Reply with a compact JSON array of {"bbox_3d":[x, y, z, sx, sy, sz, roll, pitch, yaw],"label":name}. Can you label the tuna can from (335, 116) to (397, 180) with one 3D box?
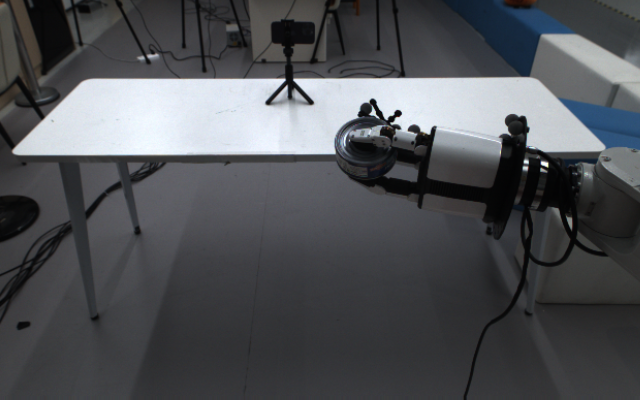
[{"bbox_3d":[0.067,-0.066,0.658,0.085,0.034,0.085,-4,58,6],"label":"tuna can"}]
